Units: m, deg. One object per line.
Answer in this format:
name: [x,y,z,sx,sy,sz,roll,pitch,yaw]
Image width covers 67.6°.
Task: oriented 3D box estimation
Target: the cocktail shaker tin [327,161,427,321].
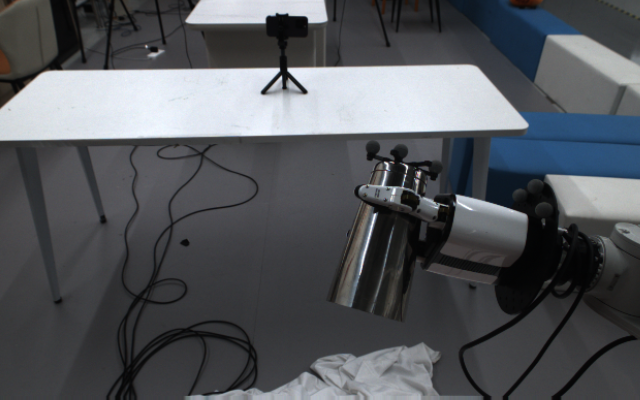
cocktail shaker tin: [0.077,0.044,0.564,0.093,0.093,0.170,13,79,15]
